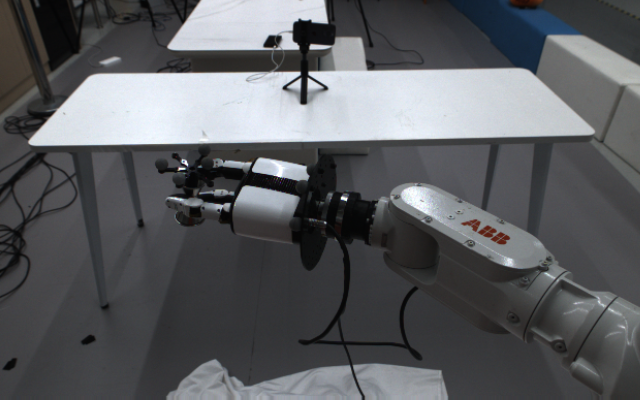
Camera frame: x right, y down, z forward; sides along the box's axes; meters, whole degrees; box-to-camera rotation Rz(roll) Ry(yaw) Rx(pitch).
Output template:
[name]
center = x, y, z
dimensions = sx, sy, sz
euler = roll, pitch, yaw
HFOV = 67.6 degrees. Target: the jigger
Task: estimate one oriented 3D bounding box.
[jigger]
center = -0.184, -0.001, 0.694
dimensions = 0.043, 0.071, 0.043
euler = 9, 36, -7
